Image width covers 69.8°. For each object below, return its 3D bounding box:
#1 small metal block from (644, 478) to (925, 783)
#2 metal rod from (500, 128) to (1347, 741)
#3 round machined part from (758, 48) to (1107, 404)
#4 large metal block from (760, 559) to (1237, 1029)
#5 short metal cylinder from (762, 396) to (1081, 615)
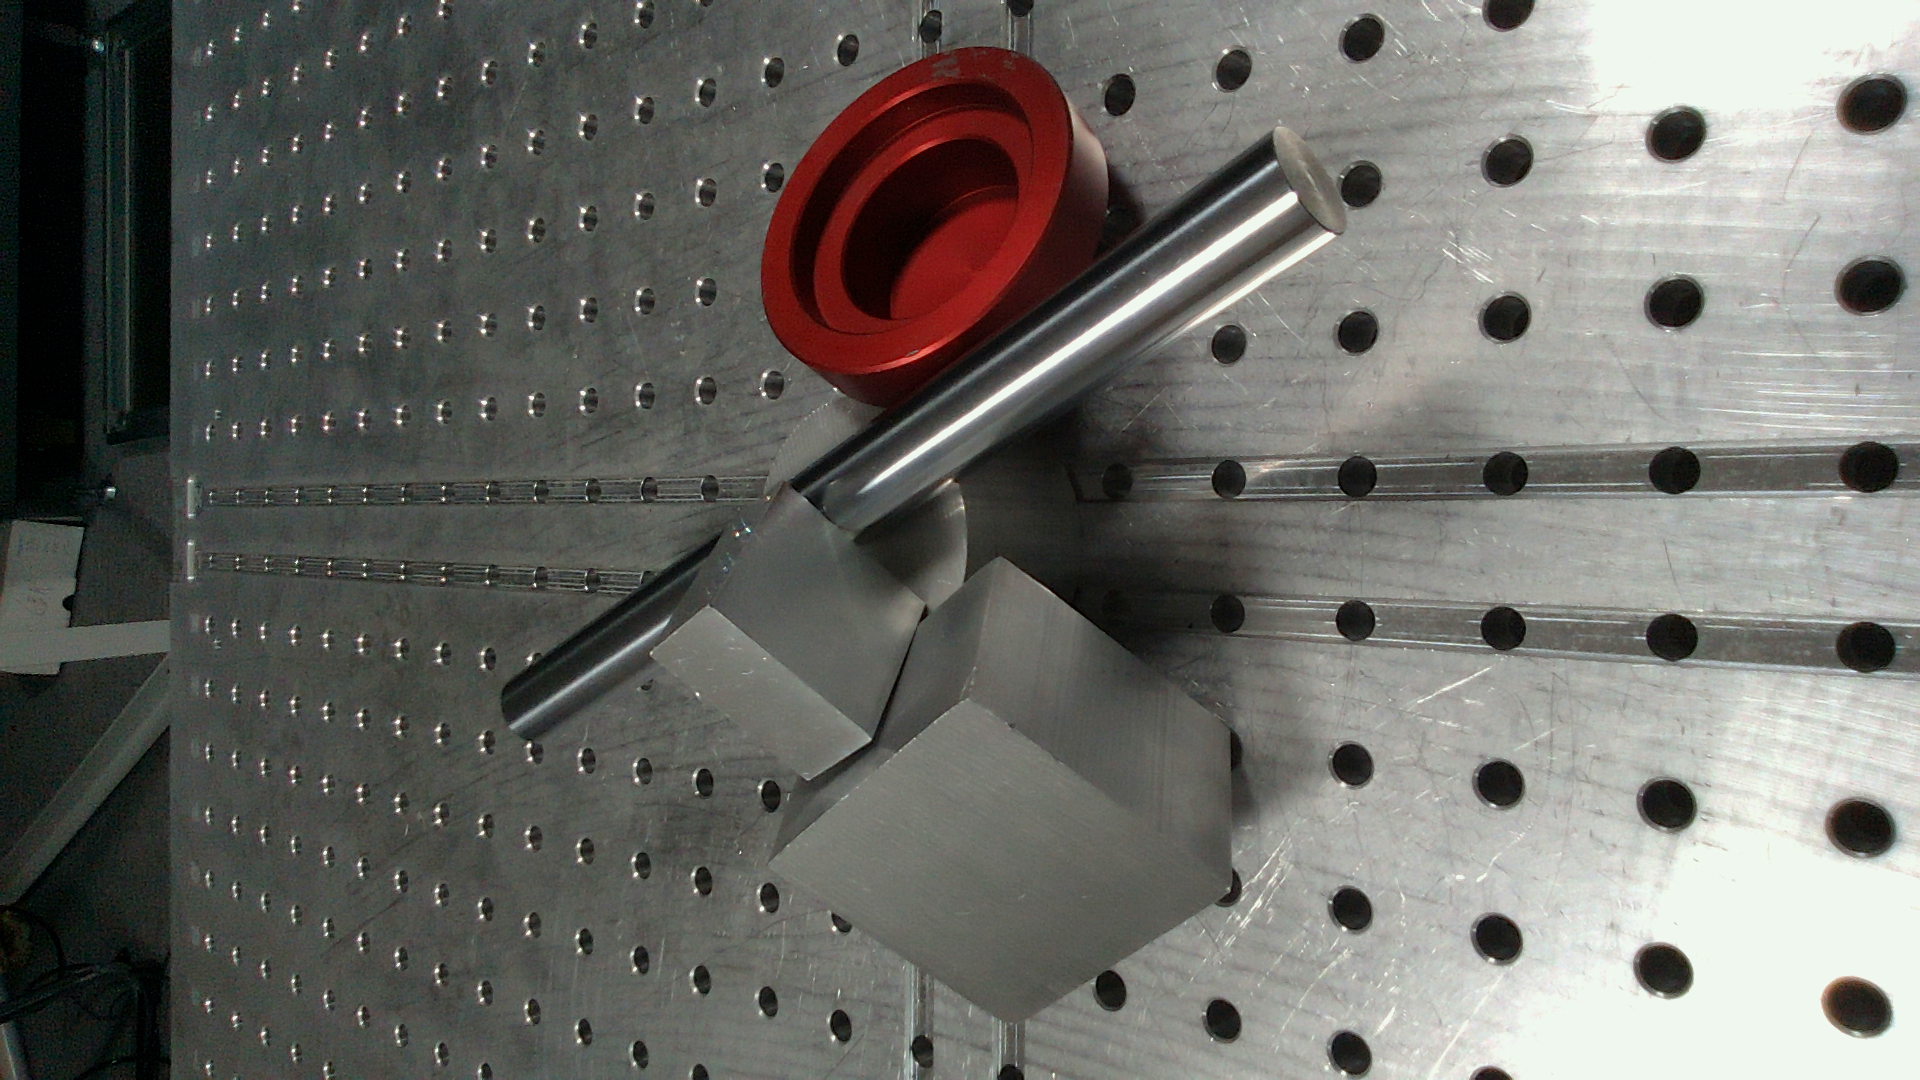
[{"bbox_3d":[-0.041,0.021,0.336,0.050,0.050,0.025,42,126,-16],"label":"small metal block"},{"bbox_3d":[-0.034,-0.009,0.361,0.299,0.025,0.025,-31,71,36],"label":"metal rod"},{"bbox_3d":[-0.004,-0.080,0.374,0.098,0.042,0.098,-15,60,28],"label":"round machined part"},{"bbox_3d":[0.011,0.065,0.342,0.080,0.050,0.080,37,123,-16],"label":"large metal block"},{"bbox_3d":[-0.013,0.000,0.392,0.080,0.050,0.080,0,90,40],"label":"short metal cylinder"}]
